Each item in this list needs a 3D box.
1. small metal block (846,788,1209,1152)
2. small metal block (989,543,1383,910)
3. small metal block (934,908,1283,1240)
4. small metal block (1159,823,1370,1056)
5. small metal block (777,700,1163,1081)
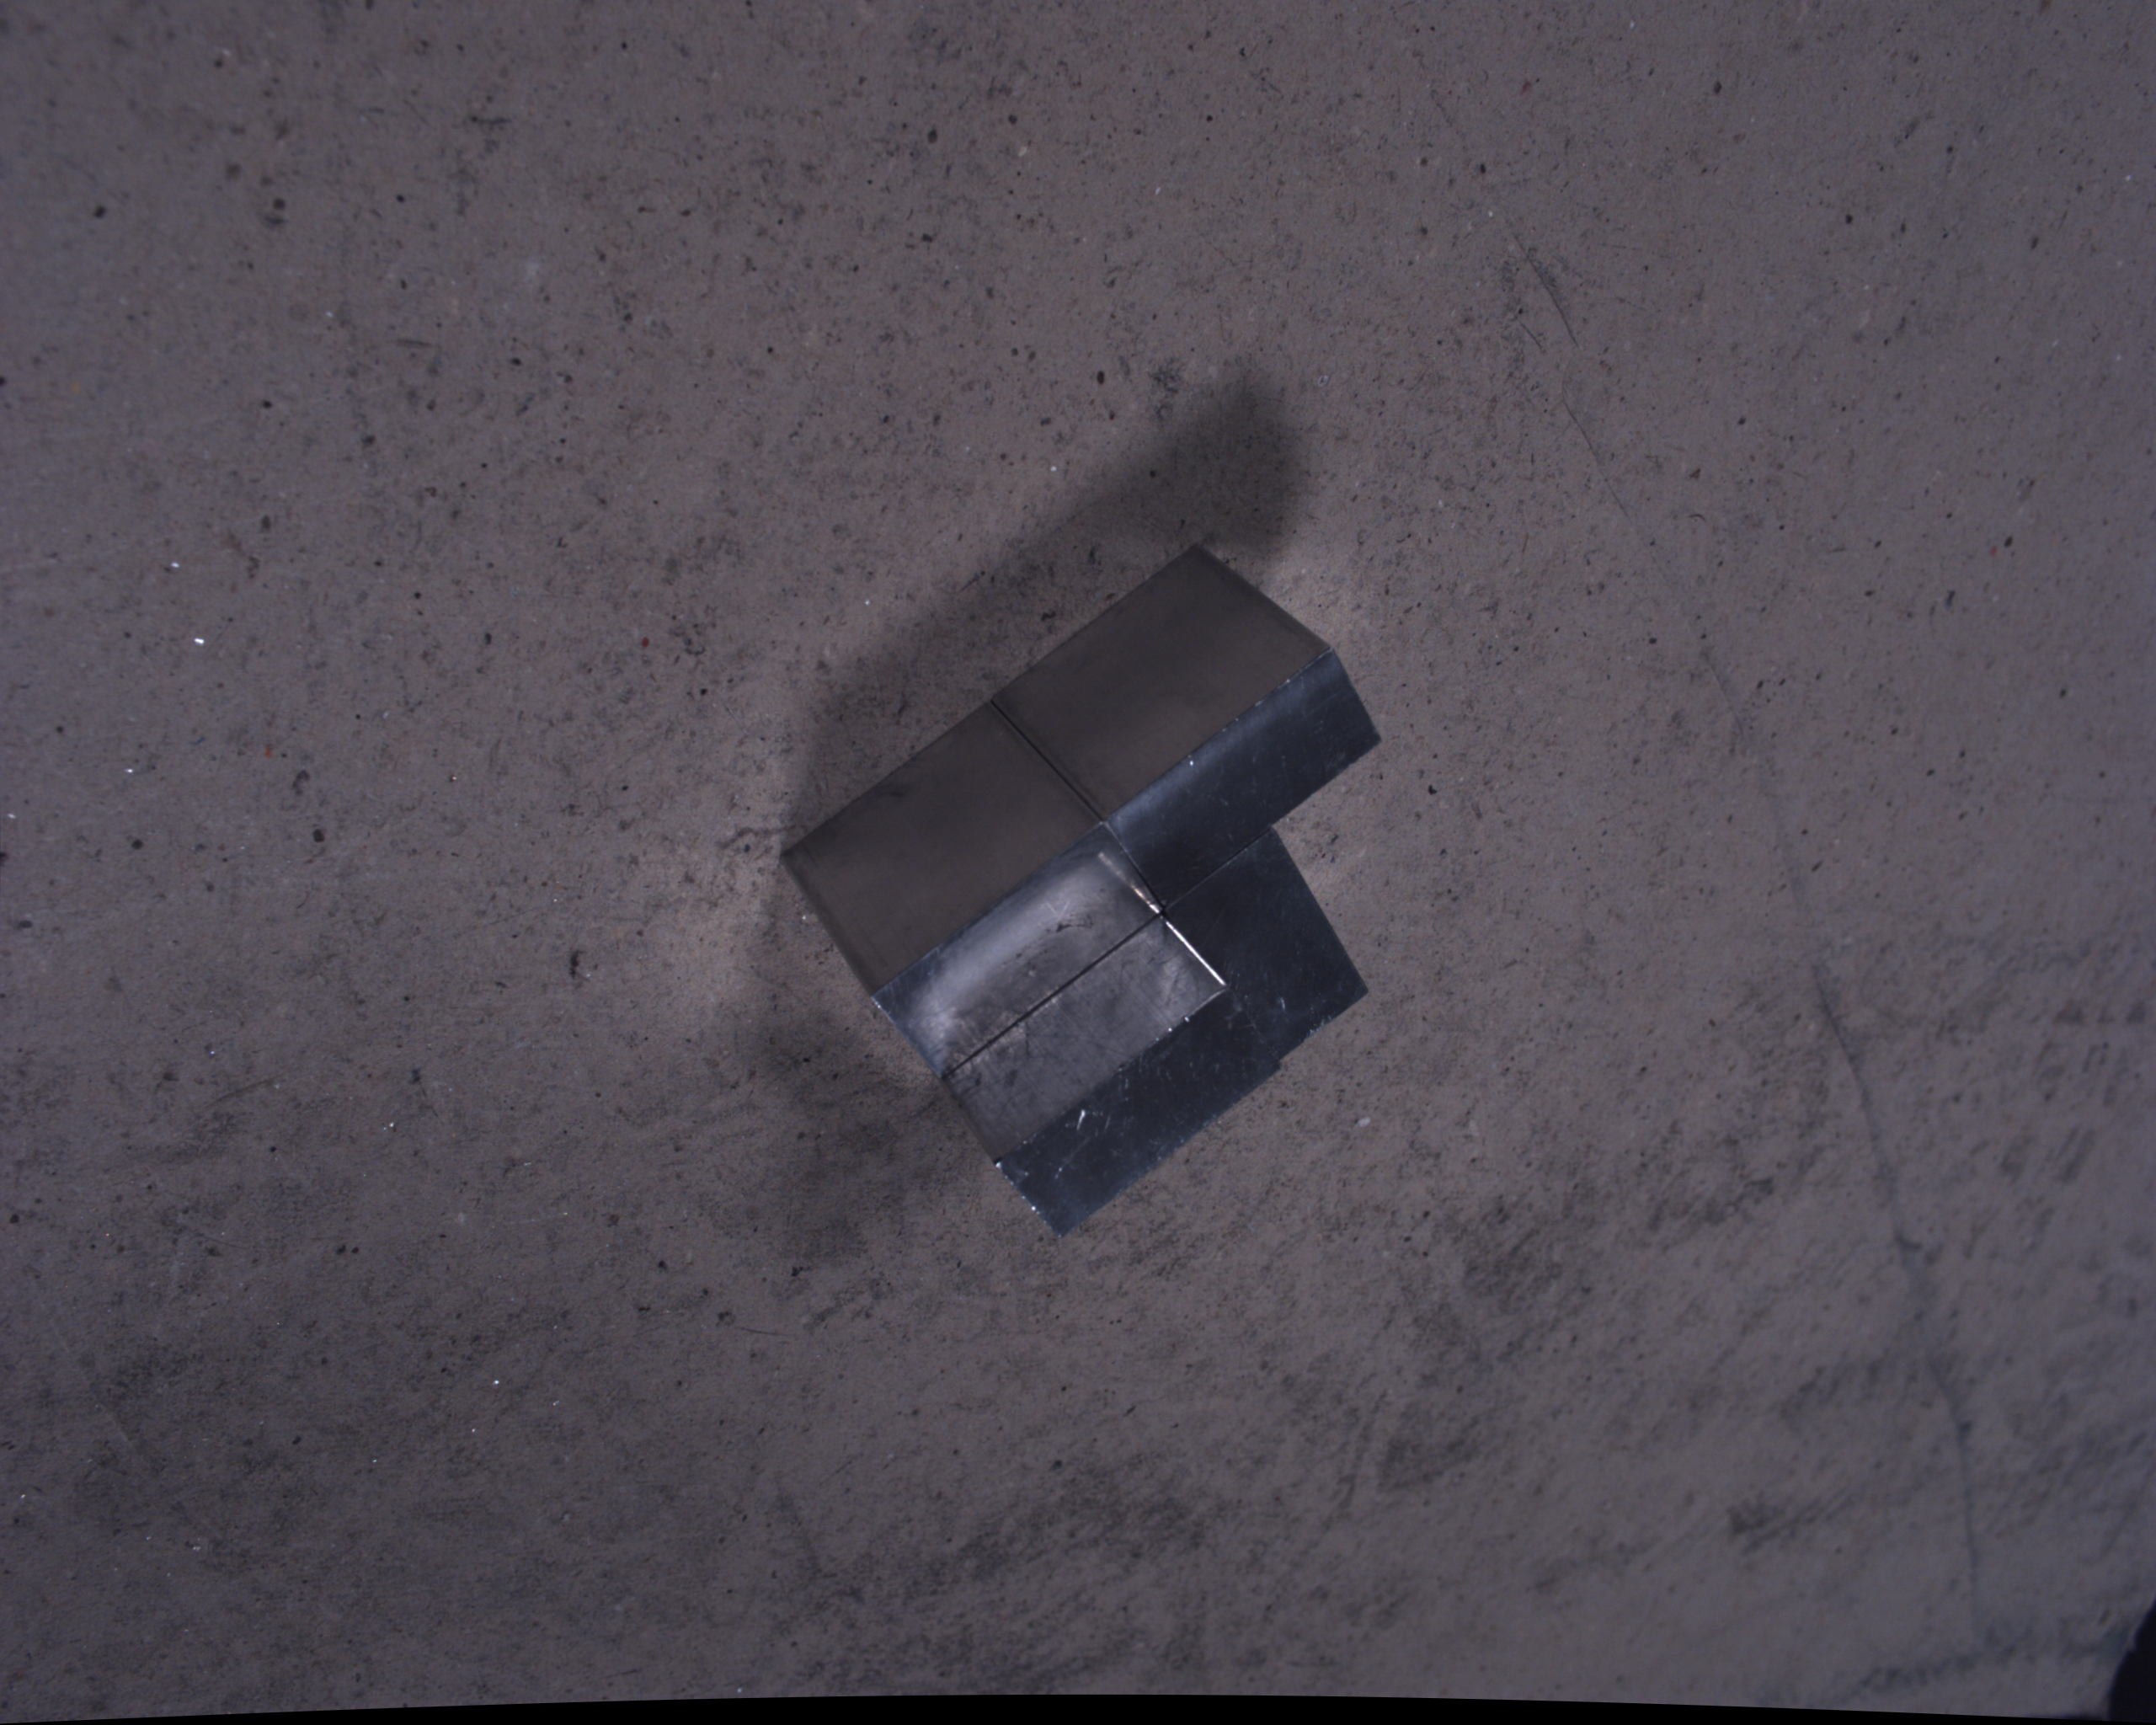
[{"bbox_3d":[-0.009,0.022,0.418,0.050,0.025,0.050,-37,130,-4],"label":"small metal block"},{"bbox_3d":[0.019,-0.026,0.387,0.050,0.050,0.025,-37,130,-4],"label":"small metal block"},{"bbox_3d":[0.000,0.032,0.381,0.050,0.050,0.025,-37,130,-4],"label":"small metal block"},{"bbox_3d":[0.026,0.005,0.411,0.025,0.050,0.050,-37,130,-4],"label":"small metal block"},{"bbox_3d":[-0.021,0.004,0.384,0.050,0.050,0.025,-37,130,-4],"label":"small metal block"}]
